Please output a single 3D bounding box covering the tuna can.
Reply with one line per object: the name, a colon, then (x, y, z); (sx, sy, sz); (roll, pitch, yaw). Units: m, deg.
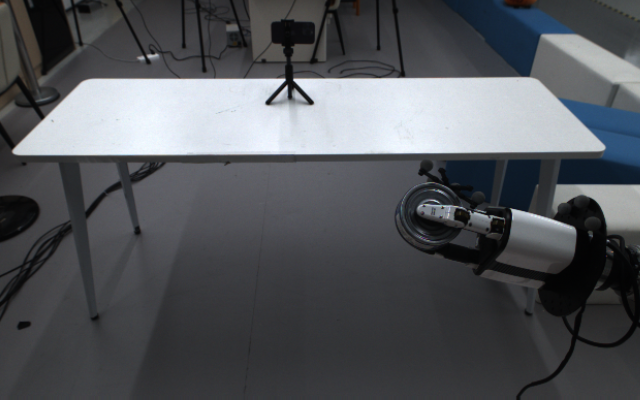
tuna can: (0.146, 0.019, 0.633); (0.085, 0.034, 0.085); (0, 74, 0)
